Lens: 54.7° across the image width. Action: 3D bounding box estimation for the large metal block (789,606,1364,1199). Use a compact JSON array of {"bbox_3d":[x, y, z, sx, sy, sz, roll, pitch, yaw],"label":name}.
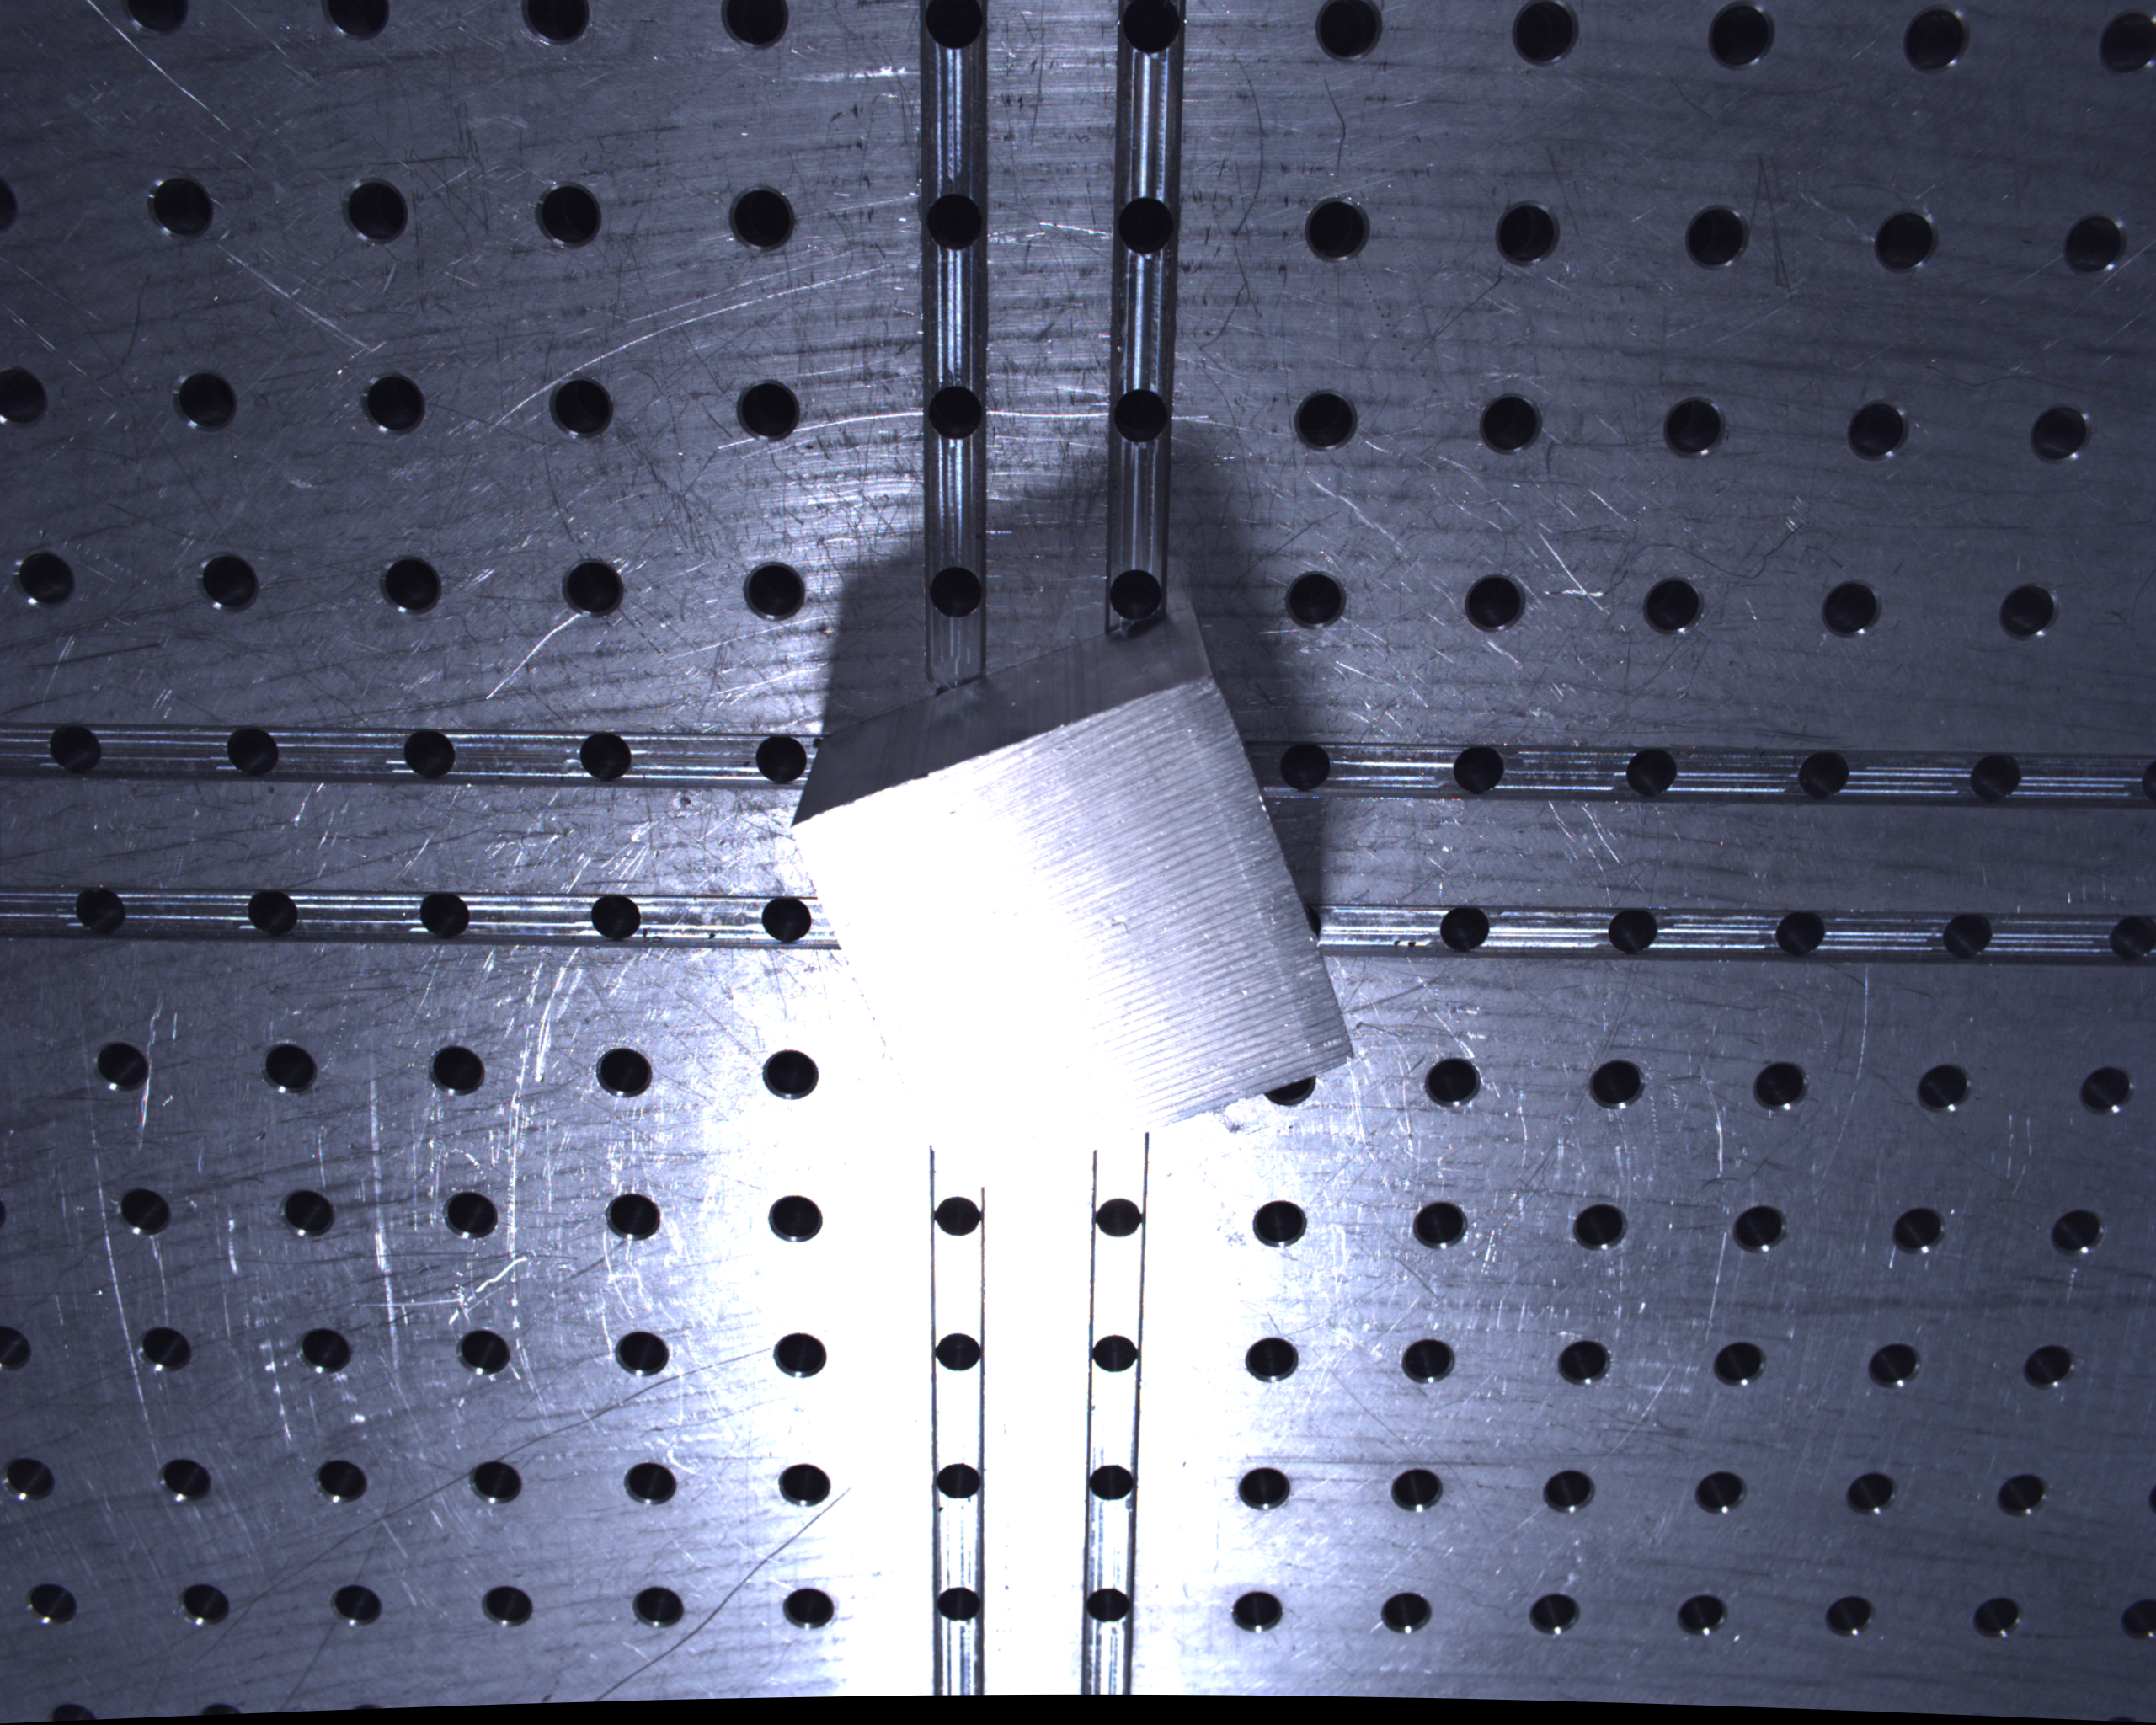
[{"bbox_3d":[0.001,0.007,0.400,0.080,0.050,0.080,-20,109,6],"label":"large metal block"}]
